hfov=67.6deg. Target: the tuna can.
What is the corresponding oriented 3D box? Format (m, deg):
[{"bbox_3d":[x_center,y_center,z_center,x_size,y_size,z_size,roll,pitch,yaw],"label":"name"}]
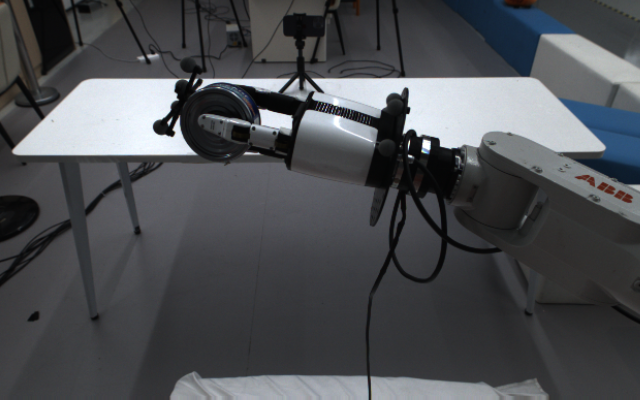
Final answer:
[{"bbox_3d":[-0.108,-0.084,0.544,0.085,0.085,0.034,3,21,2],"label":"tuna can"}]
